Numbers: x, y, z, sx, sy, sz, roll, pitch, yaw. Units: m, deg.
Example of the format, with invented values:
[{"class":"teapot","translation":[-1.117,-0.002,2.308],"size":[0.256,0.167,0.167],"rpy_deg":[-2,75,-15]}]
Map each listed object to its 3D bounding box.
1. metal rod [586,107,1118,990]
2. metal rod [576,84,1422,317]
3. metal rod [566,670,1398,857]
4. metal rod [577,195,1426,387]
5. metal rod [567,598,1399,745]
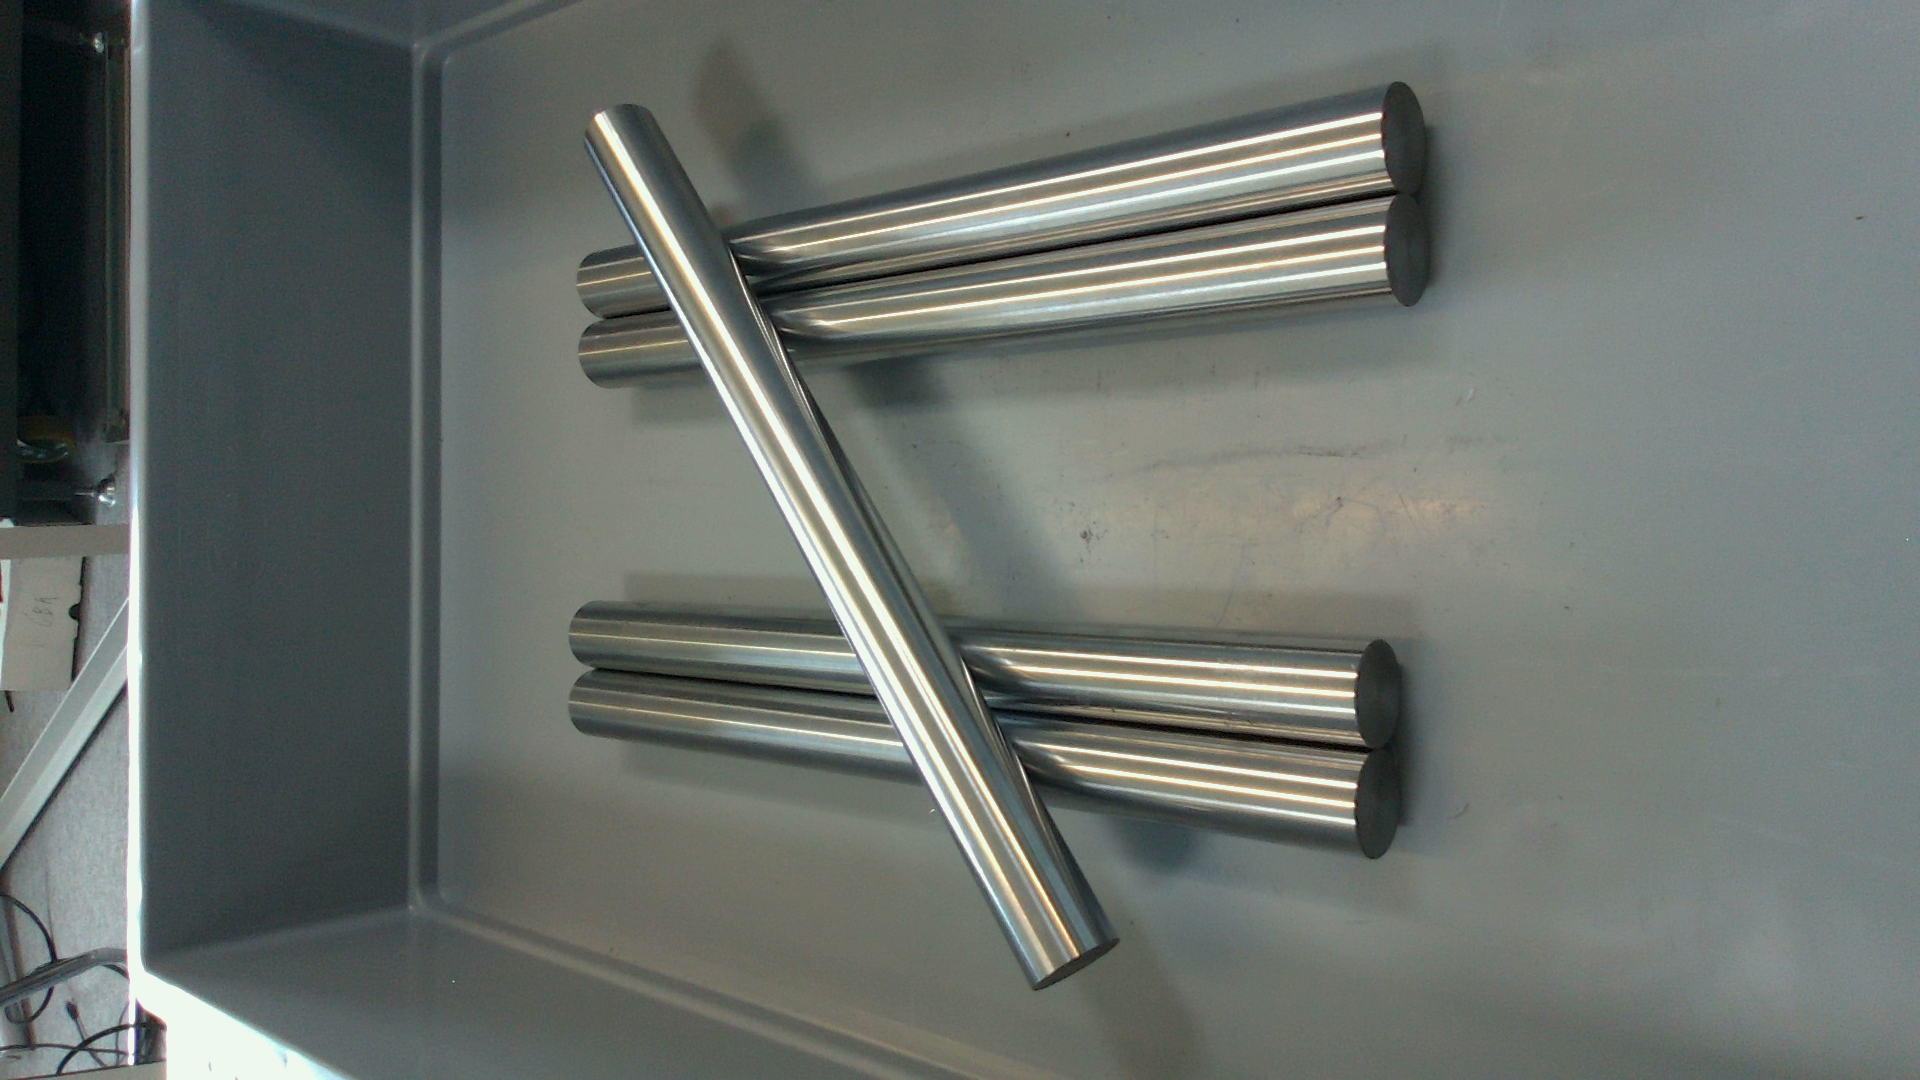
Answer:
[{"class":"metal rod","translation":[-0.042,-0.014,0.396],"size":[0.025,0.025,0.300],"rpy_deg":[-45,63,31]},{"class":"metal rod","translation":[-0.015,-0.091,0.406],"size":[0.299,0.025,0.025],"rpy_deg":[1,91,40]},{"class":"metal rod","translation":[-0.020,0.059,0.409],"size":[0.299,0.025,0.025],"rpy_deg":[0,90,40]},{"class":"metal rod","translation":[-0.014,-0.066,0.405],"size":[0.299,0.025,0.025],"rpy_deg":[1,91,40]},{"class":"metal rod","translation":[-0.019,0.034,0.409],"size":[0.299,0.025,0.025],"rpy_deg":[0,90,40]}]
